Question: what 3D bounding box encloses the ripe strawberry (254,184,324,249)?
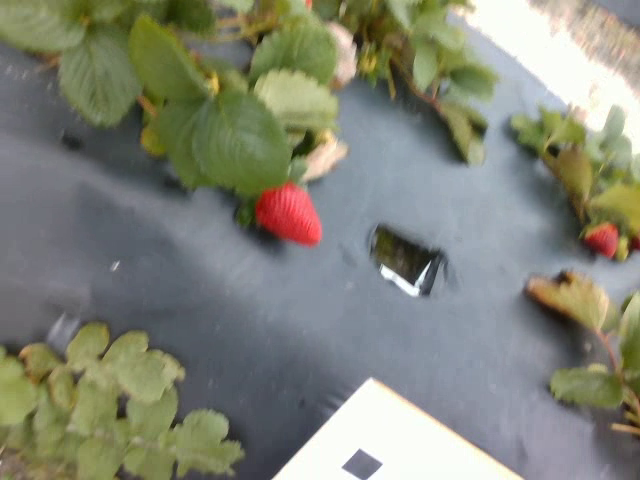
[{"bbox_3d":[-0.027,-0.019,0.399,0.046,0.064,0.048,-46,-24,18],"label":"ripe strawberry"}]
